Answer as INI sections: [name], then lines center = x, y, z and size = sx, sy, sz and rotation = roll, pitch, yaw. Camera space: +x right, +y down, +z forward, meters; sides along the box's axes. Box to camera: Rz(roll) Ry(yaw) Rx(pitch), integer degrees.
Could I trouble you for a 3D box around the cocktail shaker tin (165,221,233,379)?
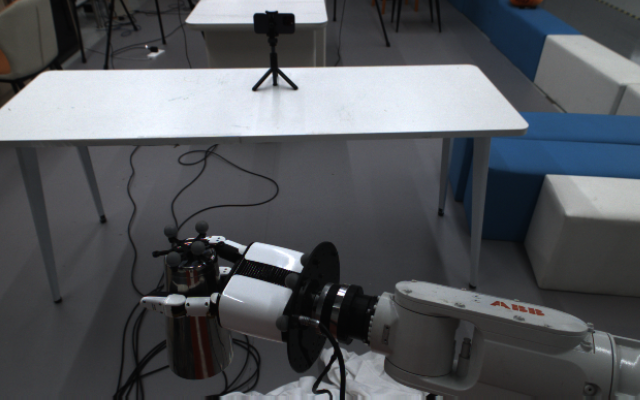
[cocktail shaker tin]
center = -0.166, 0.143, 0.655
size = 0.093, 0.170, 0.093
rotation = 2, 26, -1
